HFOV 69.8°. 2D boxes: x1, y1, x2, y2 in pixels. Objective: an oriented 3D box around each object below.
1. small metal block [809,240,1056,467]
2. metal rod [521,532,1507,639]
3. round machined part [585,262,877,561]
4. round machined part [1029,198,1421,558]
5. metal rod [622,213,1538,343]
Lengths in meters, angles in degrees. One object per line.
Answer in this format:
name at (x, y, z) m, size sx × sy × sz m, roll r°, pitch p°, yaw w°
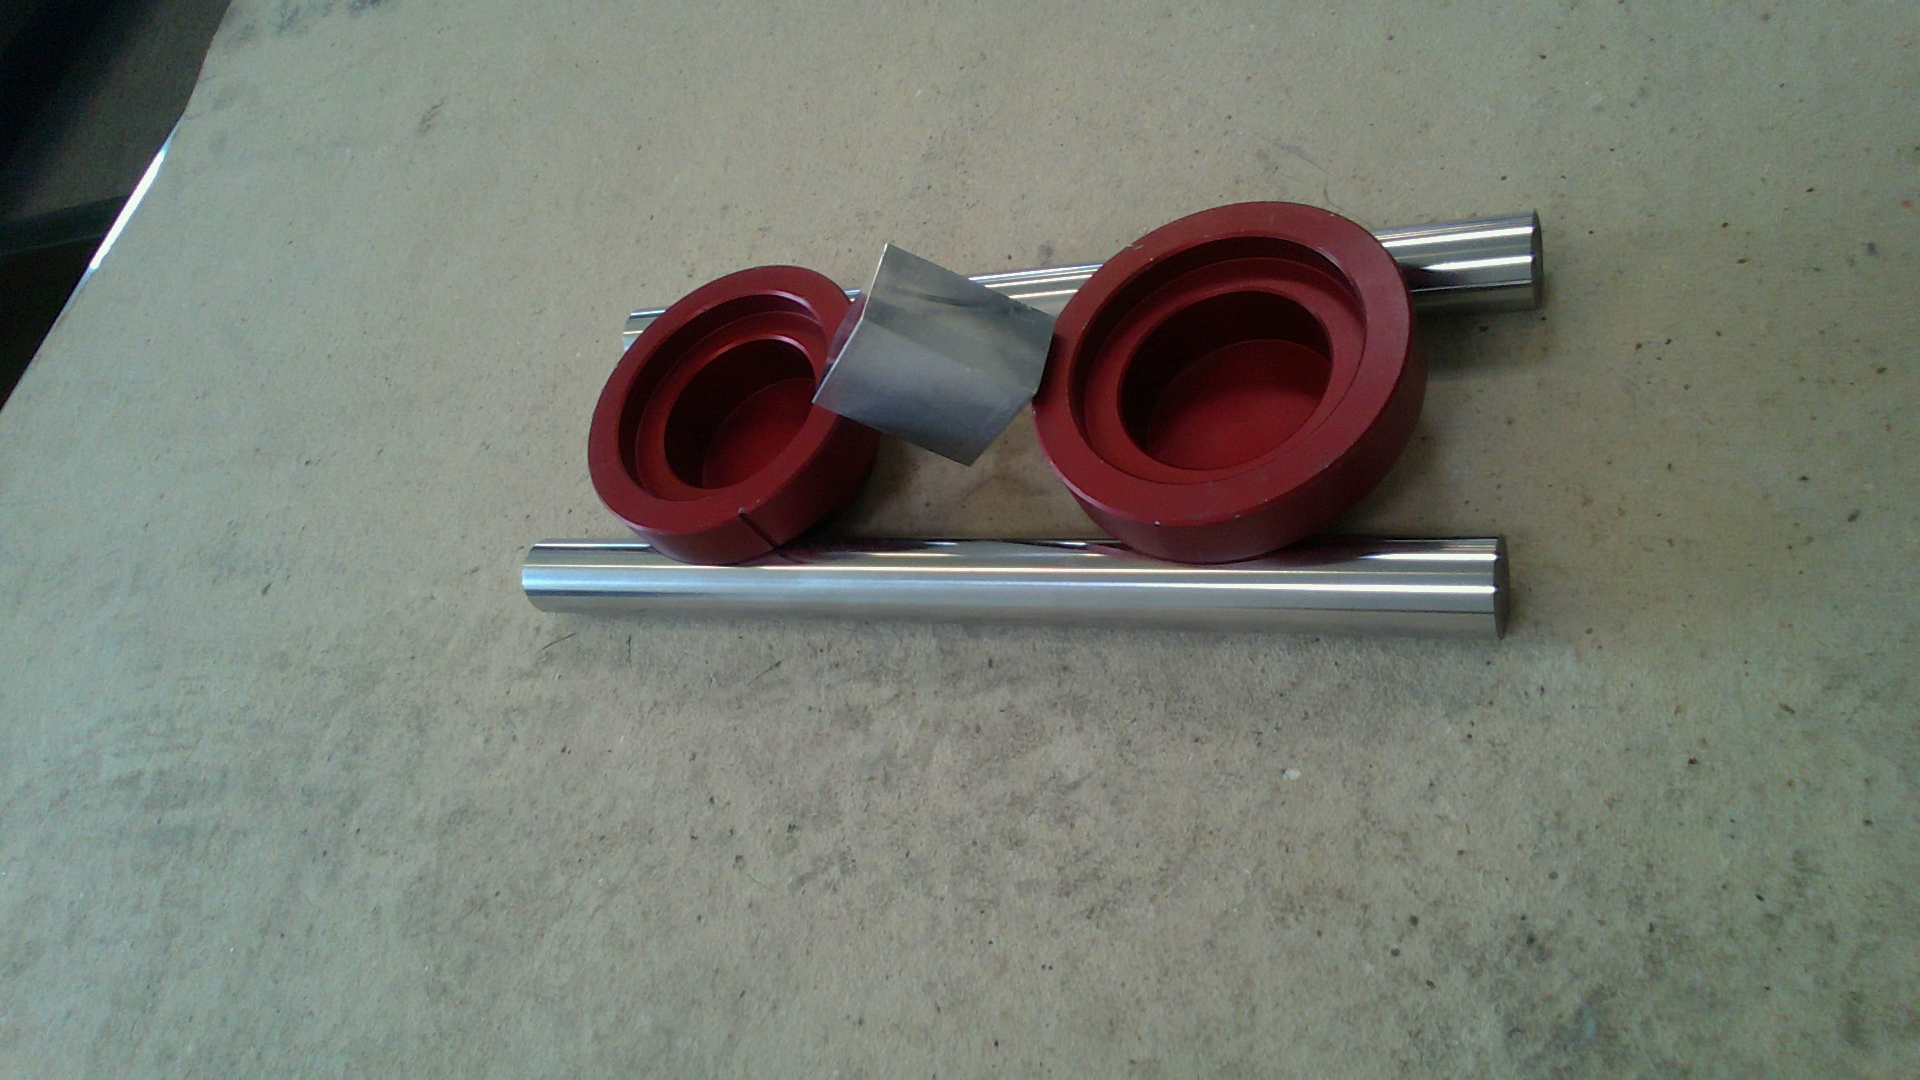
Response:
small metal block at (-0.009, -0.050, 0.379) m, size 0.050 × 0.050 × 0.025 m, roll 137°, pitch 152°, yaw -61°
metal rod at (-0.006, 0.011, 0.390) m, size 0.299 × 0.025 × 0.025 m, roll 0°, pitch 61°, yaw 28°
round machined part at (-0.066, -0.036, 0.435) m, size 0.098 × 0.042 × 0.098 m, roll -13°, pitch 56°, yaw 21°
round machined part at (0.071, -0.038, 0.361) m, size 0.098 × 0.042 × 0.098 m, roll -13°, pitch 56°, yaw 21°
metal rod at (0.018, -0.072, 0.428) m, size 0.299 × 0.025 × 0.025 m, roll 0°, pitch 61°, yaw 28°
